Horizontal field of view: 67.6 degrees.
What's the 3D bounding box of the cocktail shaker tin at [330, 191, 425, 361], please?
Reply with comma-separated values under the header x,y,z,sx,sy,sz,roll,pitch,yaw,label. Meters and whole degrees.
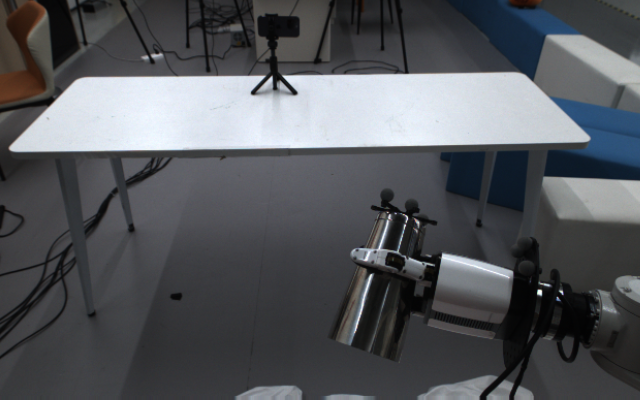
x,y,z,sx,sy,sz,roll,pitch,yaw,label
0.079,0.105,0.607,0.093,0.093,0.170,15,74,18,cocktail shaker tin
